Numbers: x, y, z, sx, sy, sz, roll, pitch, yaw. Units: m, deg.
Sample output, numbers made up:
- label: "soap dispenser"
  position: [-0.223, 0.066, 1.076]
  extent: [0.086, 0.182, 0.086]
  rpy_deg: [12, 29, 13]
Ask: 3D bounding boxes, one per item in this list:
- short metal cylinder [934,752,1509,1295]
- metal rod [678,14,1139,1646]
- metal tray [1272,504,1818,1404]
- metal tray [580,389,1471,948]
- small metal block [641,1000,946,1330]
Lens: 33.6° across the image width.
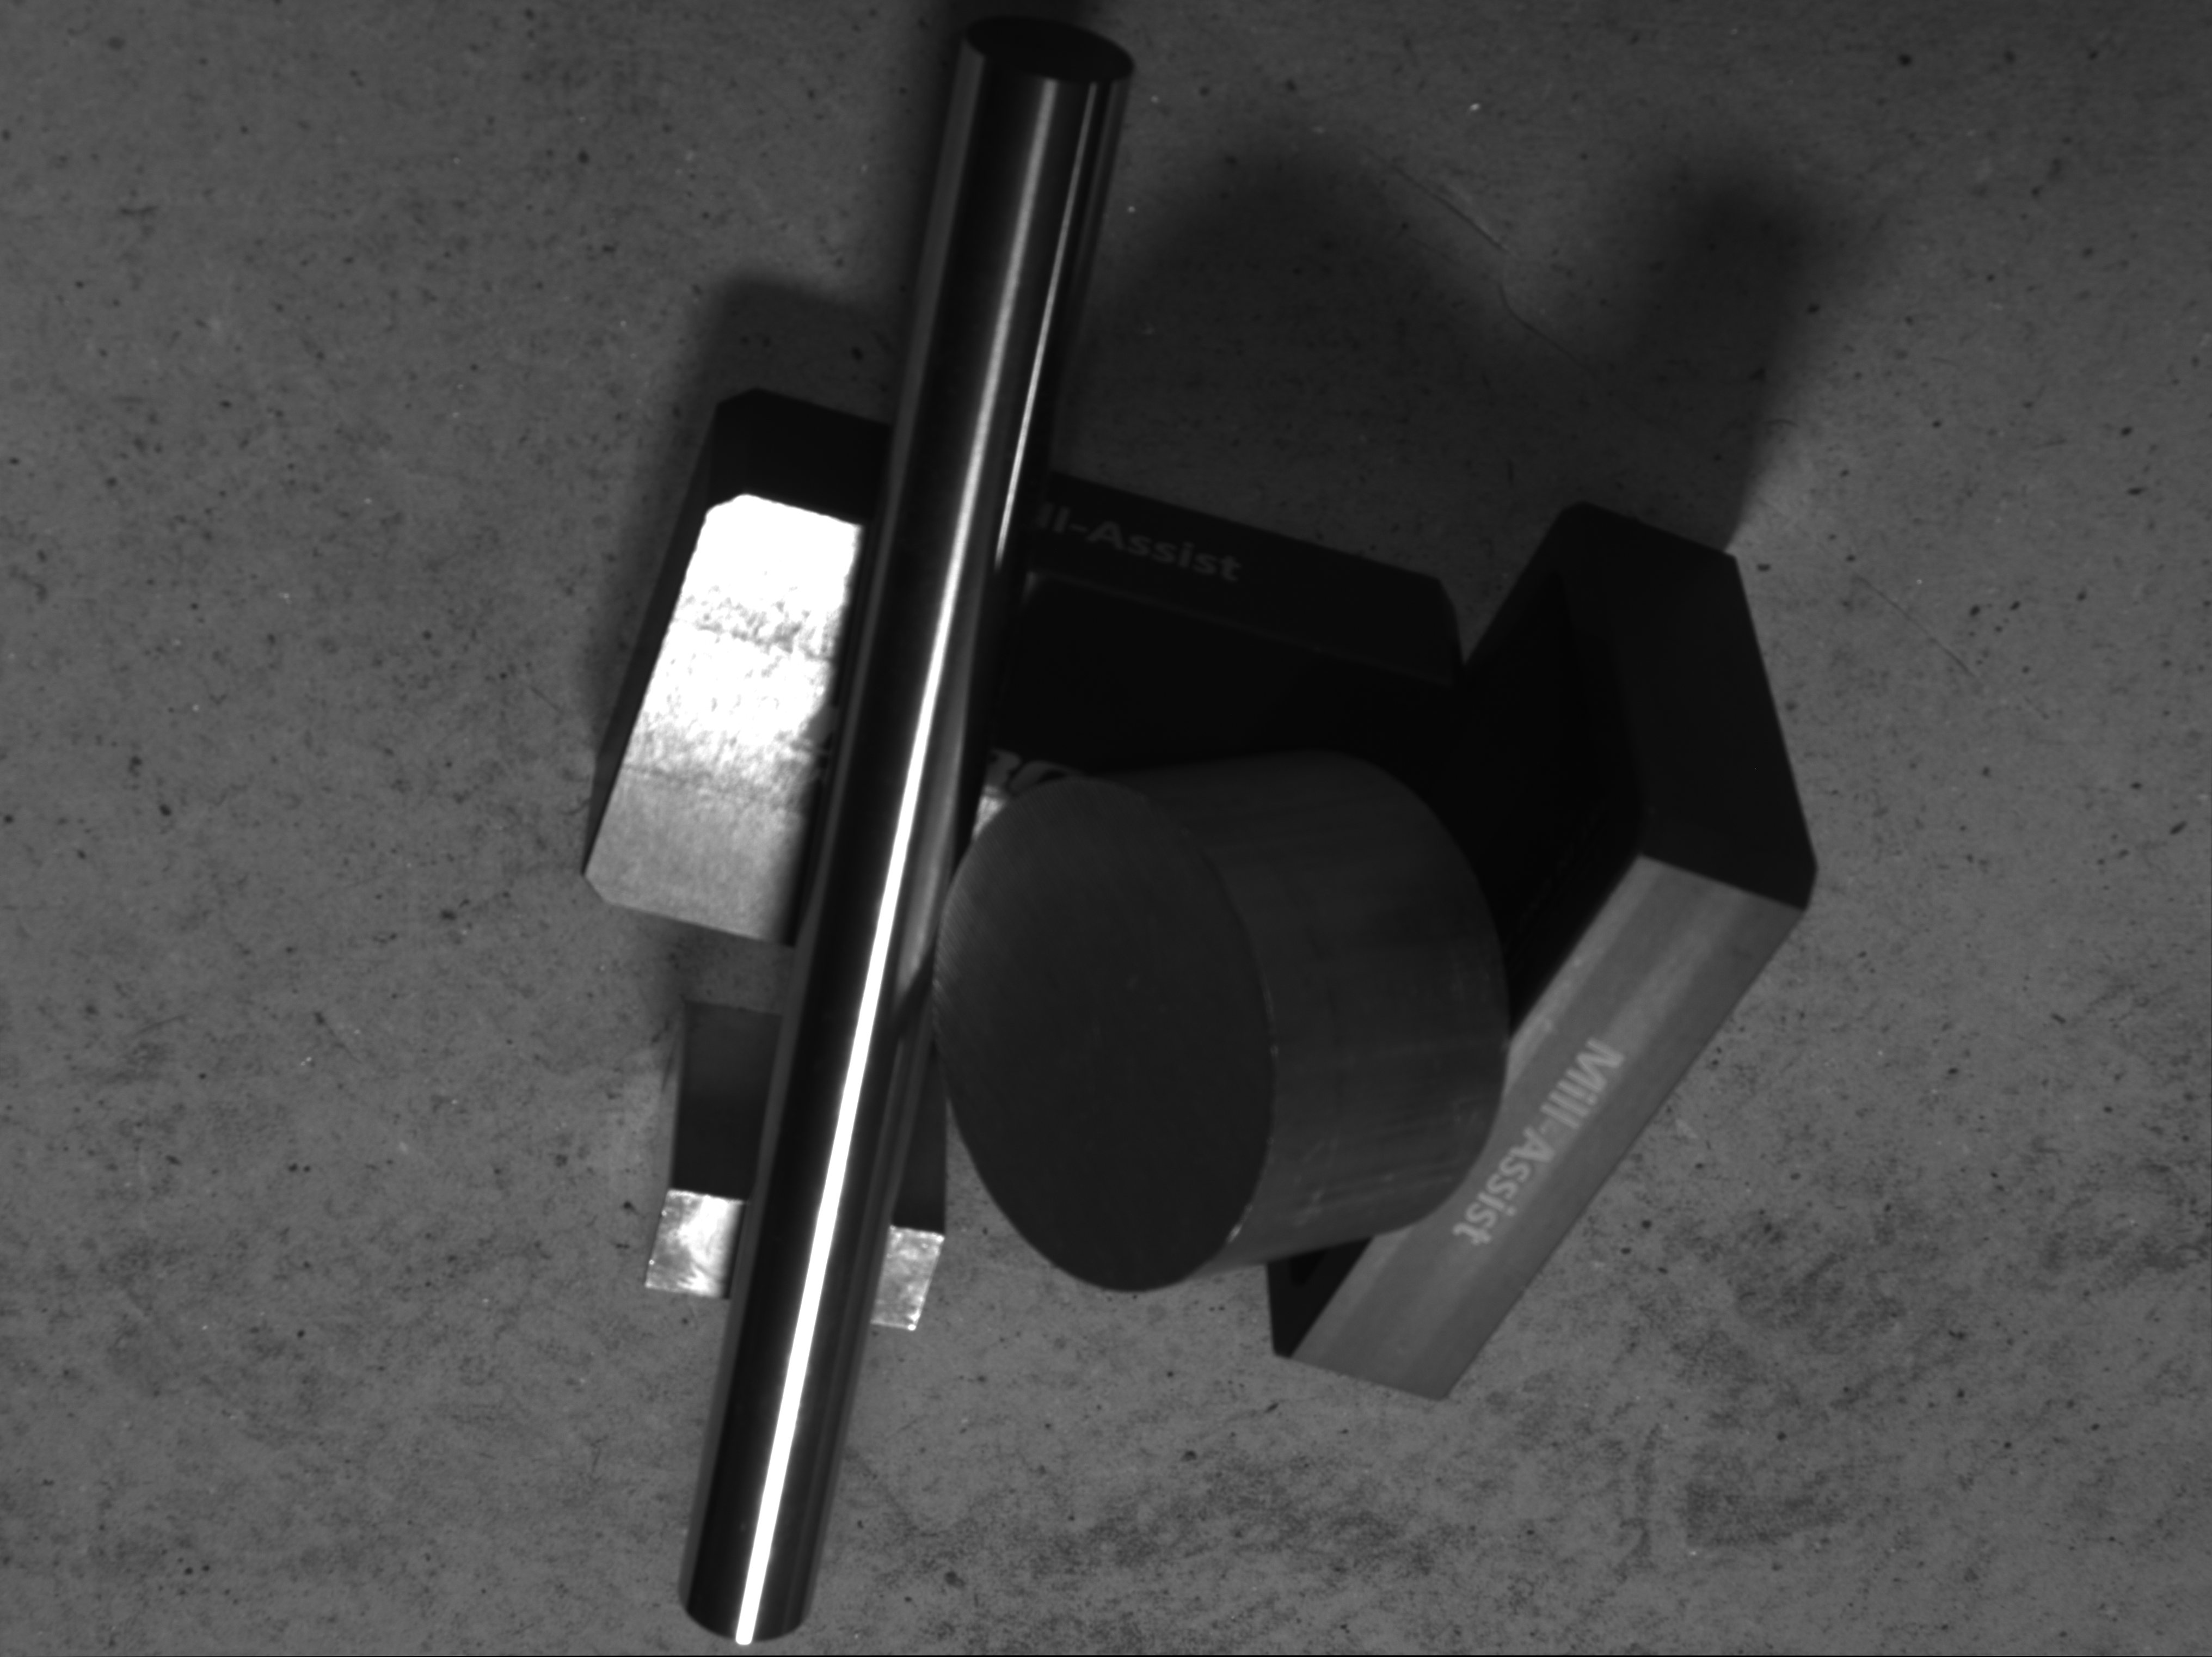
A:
- label: "short metal cylinder"
  position: [0.017, 0.030, 0.580]
  extent: [0.050, 0.080, 0.080]
  rpy_deg: [-7, 140, -40]
- label: "metal rod"
  position: [-0.037, 0.015, 0.599]
  extent: [0.025, 0.025, 0.300]
  rpy_deg: [8, 120, -8]
- label: "metal tray"
  position: [0.067, 0.022, 0.617]
  extent: [0.030, 0.090, 0.130]
  rpy_deg: [18, 127, -16]
- label: "metal tray"
  position: [-0.015, -0.015, 0.622]
  extent: [0.130, 0.030, 0.090]
  rpy_deg: [14, 128, -13]
- label: "small metal block"
  position: [-0.056, 0.061, 0.671]
  extent: [0.050, 0.050, 0.025]
  rpy_deg: [10, 129, -10]
